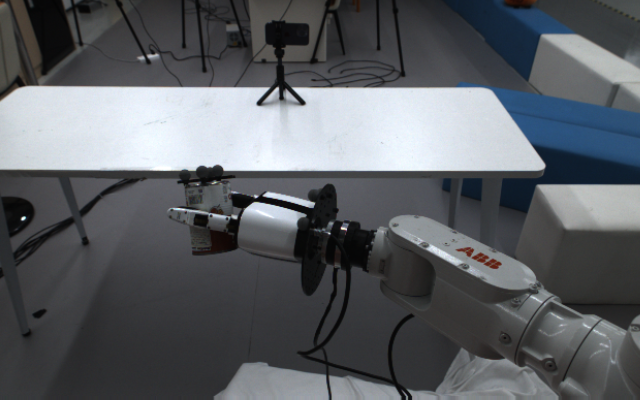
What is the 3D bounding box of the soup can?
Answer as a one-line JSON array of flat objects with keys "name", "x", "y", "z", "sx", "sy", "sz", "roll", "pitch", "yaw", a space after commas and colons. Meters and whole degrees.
[{"name": "soup can", "x": -0.158, "y": 0.027, "z": 0.710, "sx": 0.067, "sy": 0.101, "sz": 0.067, "roll": -7, "pitch": 2, "yaw": 0}]
